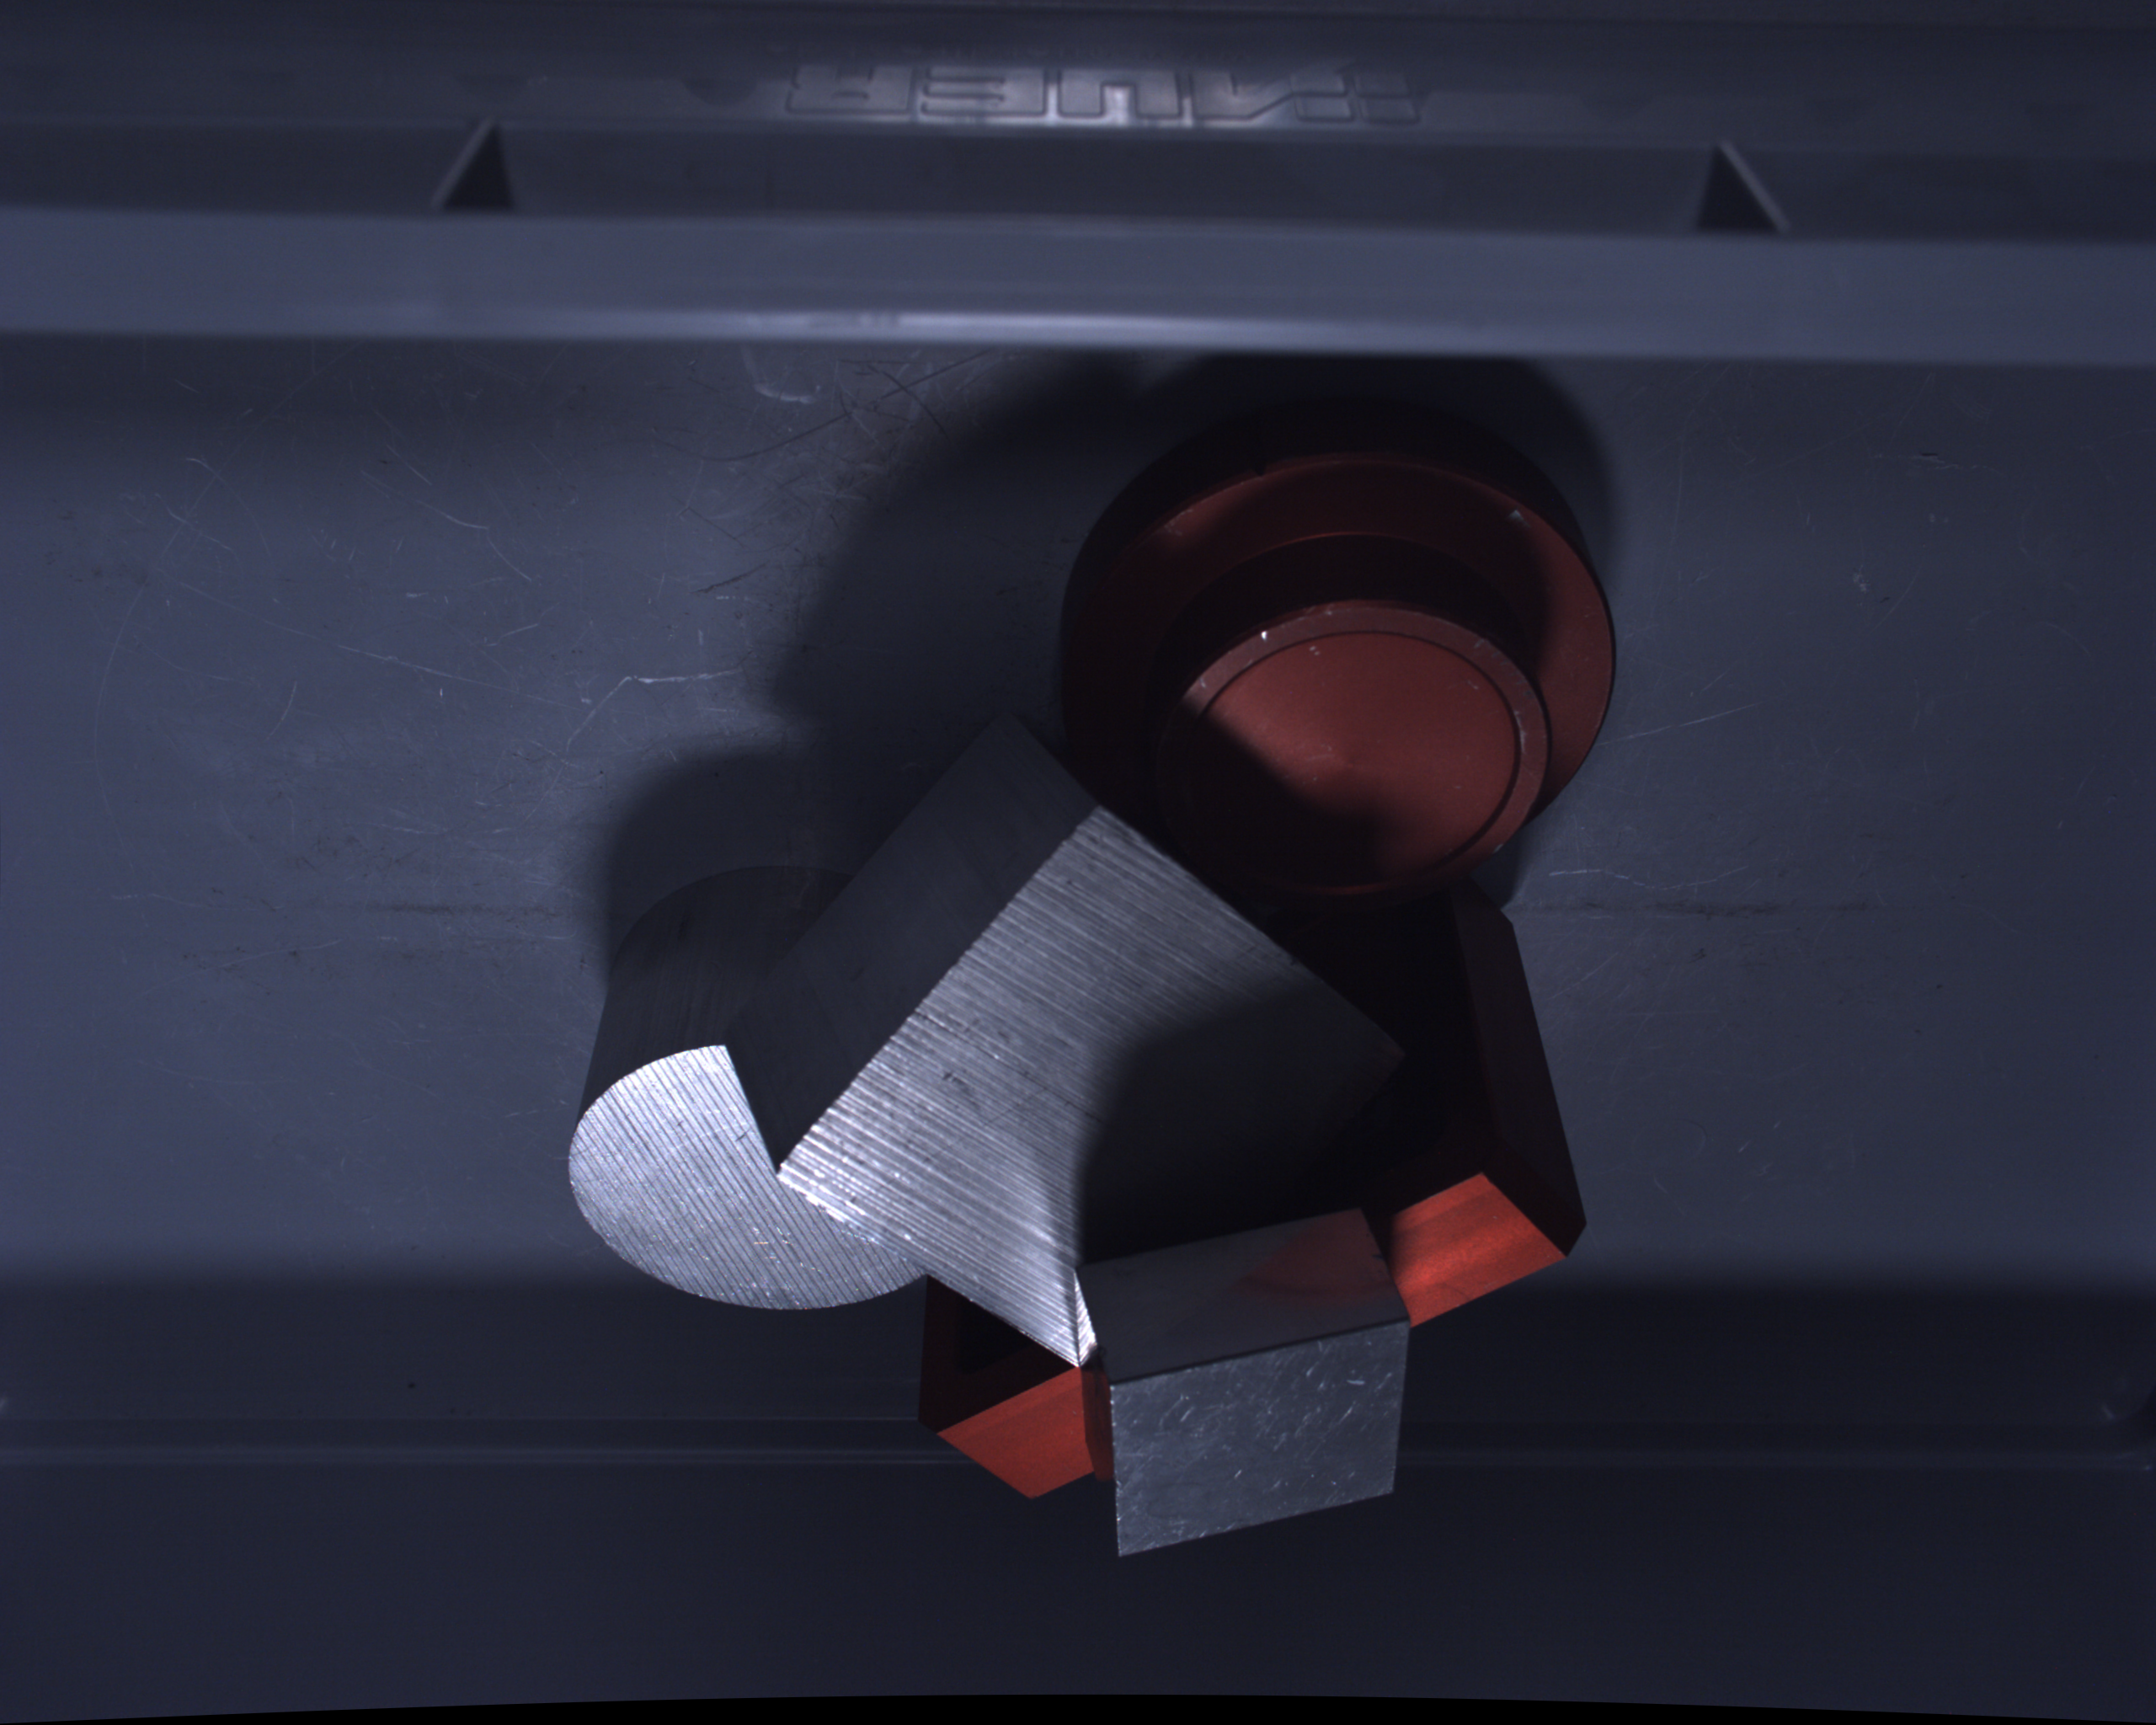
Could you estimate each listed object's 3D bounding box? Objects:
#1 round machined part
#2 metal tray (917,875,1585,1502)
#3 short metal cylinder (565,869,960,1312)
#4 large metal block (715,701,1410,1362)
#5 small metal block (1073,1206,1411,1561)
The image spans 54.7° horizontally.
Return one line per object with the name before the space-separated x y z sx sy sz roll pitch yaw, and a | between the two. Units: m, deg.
round machined part | 0.046 -0.029 0.371 0.099 0.042 0.097 -1 130 0
metal tray | 0.029 0.061 0.416 0.130 0.090 0.030 -31 123 23
short metal cylinder | -0.060 0.048 0.430 0.081 0.050 0.079 0 130 0
large metal block | -0.004 0.032 0.371 0.080 0.050 0.080 39 95 -28
small metal block | 0.028 0.090 0.359 0.050 0.025 0.050 -10 130 -9
